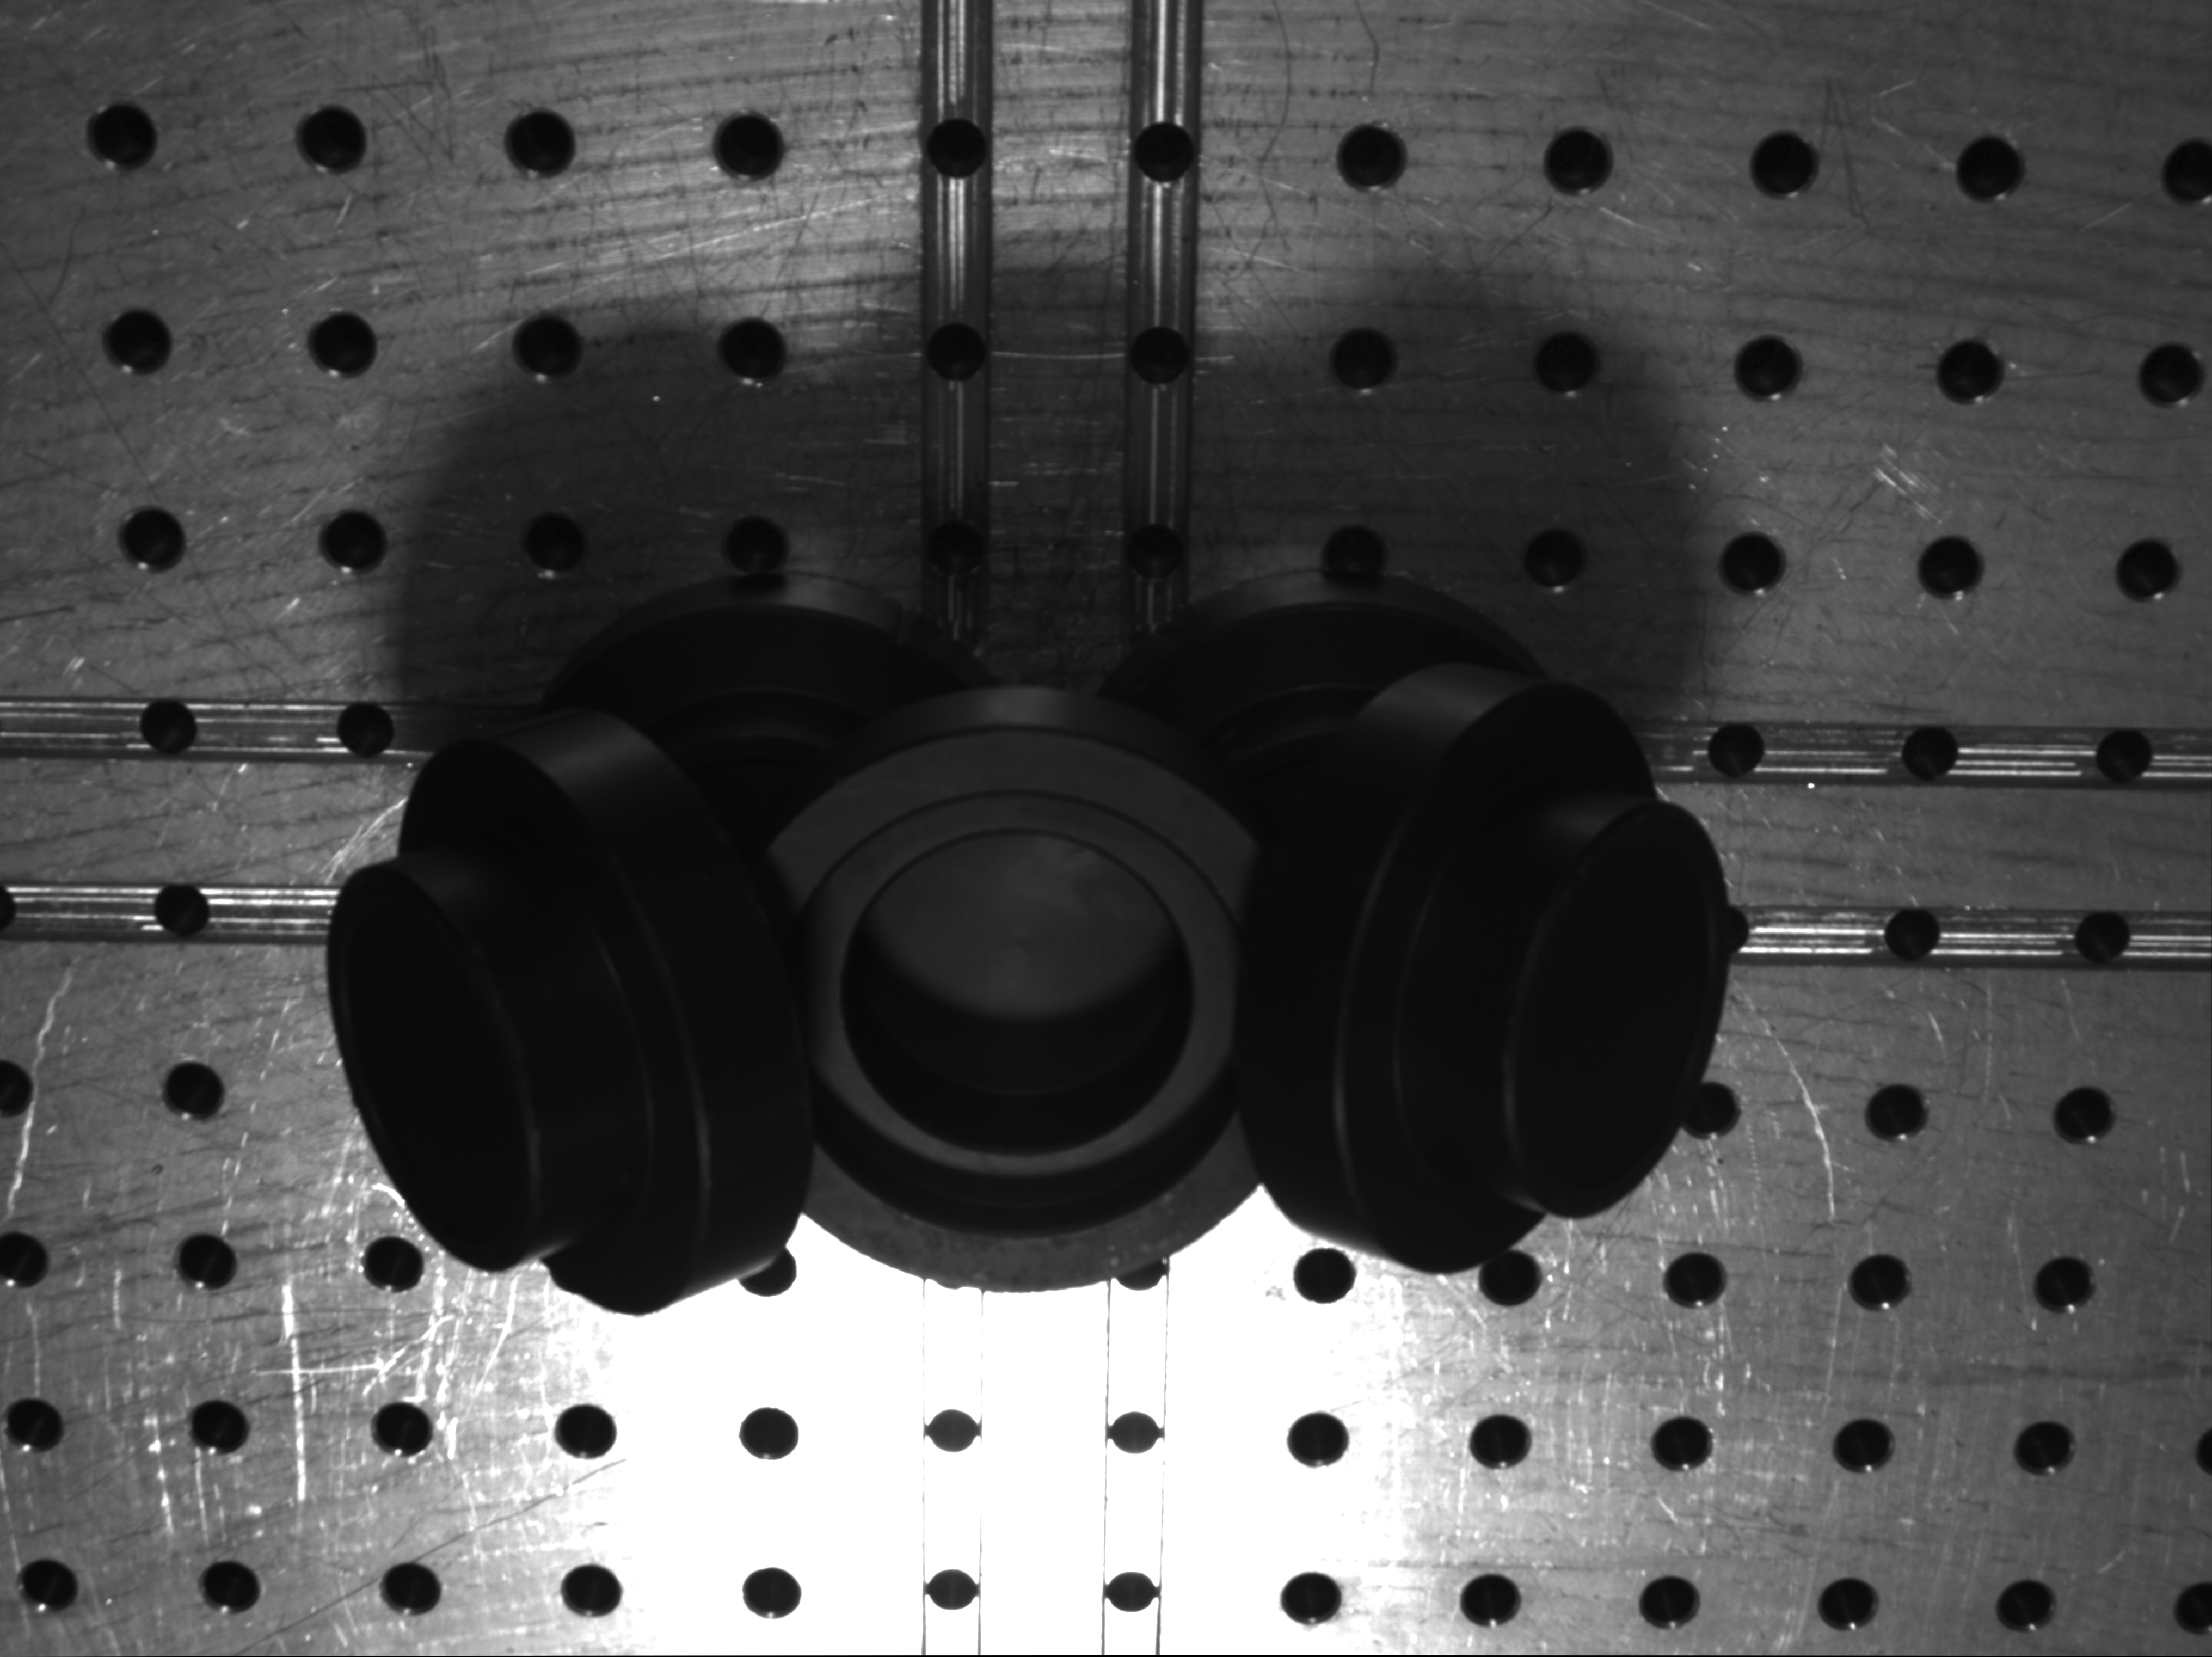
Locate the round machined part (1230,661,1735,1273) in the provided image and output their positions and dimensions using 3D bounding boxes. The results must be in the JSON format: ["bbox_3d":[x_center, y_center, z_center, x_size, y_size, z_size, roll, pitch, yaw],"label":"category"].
[{"bbox_3d":[0.066,0.025,0.592,0.042,0.098,0.098,16,115,37],"label":"round machined part"}]

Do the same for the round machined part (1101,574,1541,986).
[{"bbox_3d":[0.040,0.008,0.640,0.098,0.042,0.098,0,110,-1],"label":"round machined part"}]

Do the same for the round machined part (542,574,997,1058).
[{"bbox_3d":[-0.058,0.008,0.638,0.098,0.042,0.098,0,110,-1],"label":"round machined part"}]

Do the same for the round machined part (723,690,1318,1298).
[{"bbox_3d":[-0.014,0.024,0.599,0.098,0.042,0.098,0,110,-1],"label":"round machined part"}]

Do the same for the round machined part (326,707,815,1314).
[{"bbox_3d":[-0.092,0.033,0.593,0.042,0.098,0.098,-20,114,-33],"label":"round machined part"}]
